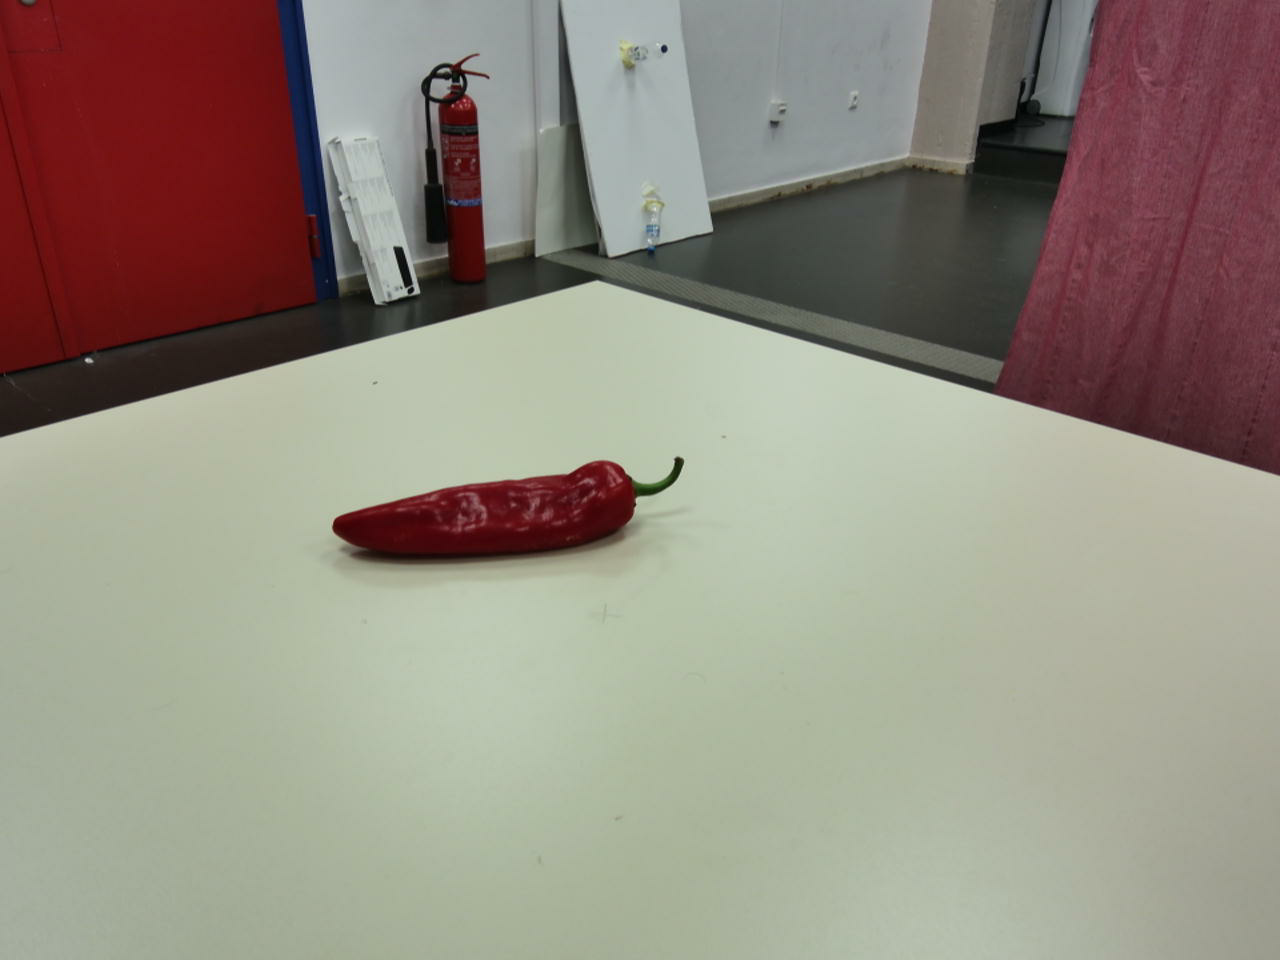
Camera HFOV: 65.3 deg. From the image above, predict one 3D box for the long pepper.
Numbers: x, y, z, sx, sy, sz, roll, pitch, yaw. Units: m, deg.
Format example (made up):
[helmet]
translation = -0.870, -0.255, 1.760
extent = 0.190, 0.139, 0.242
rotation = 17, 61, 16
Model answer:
[long pepper]
translation = -0.072, 0.017, 0.589
extent = 0.211, 0.043, 0.050
rotation = -7, 26, -14
